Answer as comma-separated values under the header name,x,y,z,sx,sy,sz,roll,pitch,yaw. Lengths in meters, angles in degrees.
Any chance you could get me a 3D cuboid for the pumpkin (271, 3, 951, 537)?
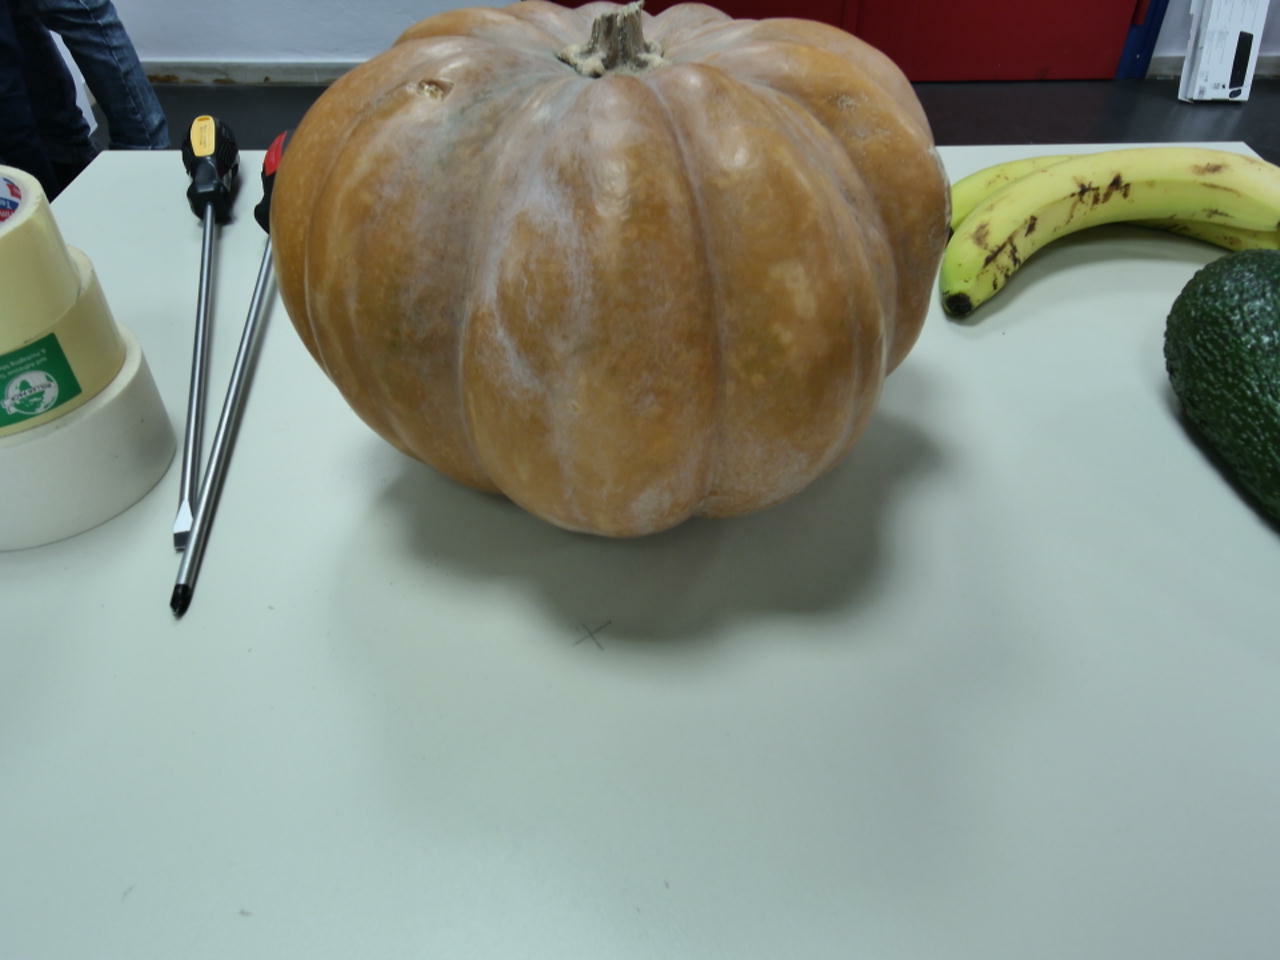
name,x,y,z,sx,sy,sz,roll,pitch,yaw
pumpkin,-0.009,-0.096,0.410,0.277,0.181,0.277,0,39,0
